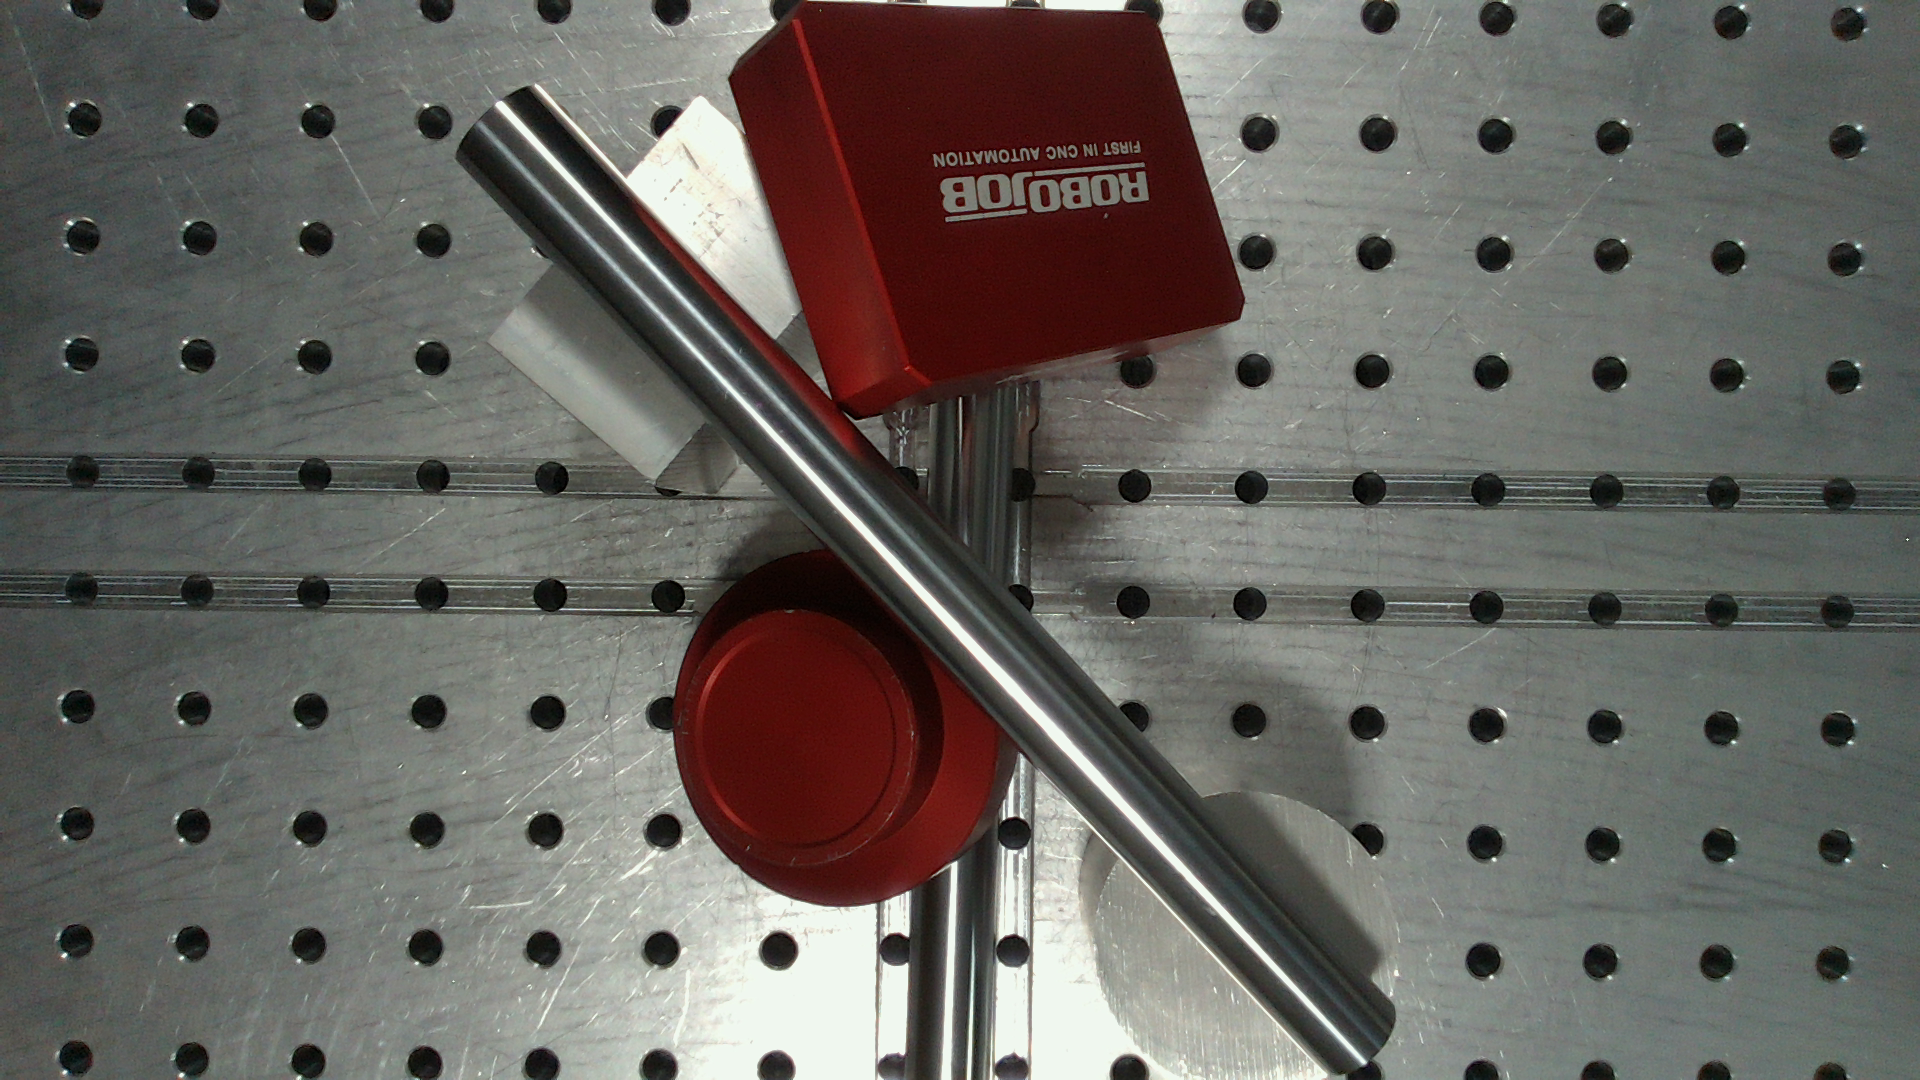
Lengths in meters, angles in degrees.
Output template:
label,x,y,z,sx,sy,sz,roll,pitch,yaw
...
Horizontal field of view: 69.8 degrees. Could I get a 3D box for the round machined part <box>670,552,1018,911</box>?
label,x,y,z,sx,sy,sz,roll,pitch,yaw
round machined part,-0.036,0.052,0.374,0.098,0.042,0.098,0,90,17

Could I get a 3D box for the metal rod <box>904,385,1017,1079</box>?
label,x,y,z,sx,sy,sz,roll,pitch,yaw
metal rod,0.001,0.023,0.398,0.025,0.025,0.300,2,90,0

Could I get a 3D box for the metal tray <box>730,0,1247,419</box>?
label,x,y,z,sx,sy,sz,roll,pitch,yaw
metal tray,0.013,-0.088,0.356,0.131,0.030,0.090,-18,90,-42

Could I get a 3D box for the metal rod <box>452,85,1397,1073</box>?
label,x,y,z,sx,sy,sz,roll,pitch,yaw
metal rod,-0.001,0.016,0.327,0.025,0.025,0.300,-43,98,0

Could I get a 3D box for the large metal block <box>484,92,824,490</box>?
label,x,y,z,sx,sy,sz,roll,pitch,yaw
large metal block,-0.069,-0.061,0.371,0.050,0.080,0.080,41,90,0

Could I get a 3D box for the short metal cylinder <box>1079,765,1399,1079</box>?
label,x,y,z,sx,sy,sz,roll,pitch,yaw
short metal cylinder,0.076,0.106,0.386,0.080,0.050,0.080,0,90,0
